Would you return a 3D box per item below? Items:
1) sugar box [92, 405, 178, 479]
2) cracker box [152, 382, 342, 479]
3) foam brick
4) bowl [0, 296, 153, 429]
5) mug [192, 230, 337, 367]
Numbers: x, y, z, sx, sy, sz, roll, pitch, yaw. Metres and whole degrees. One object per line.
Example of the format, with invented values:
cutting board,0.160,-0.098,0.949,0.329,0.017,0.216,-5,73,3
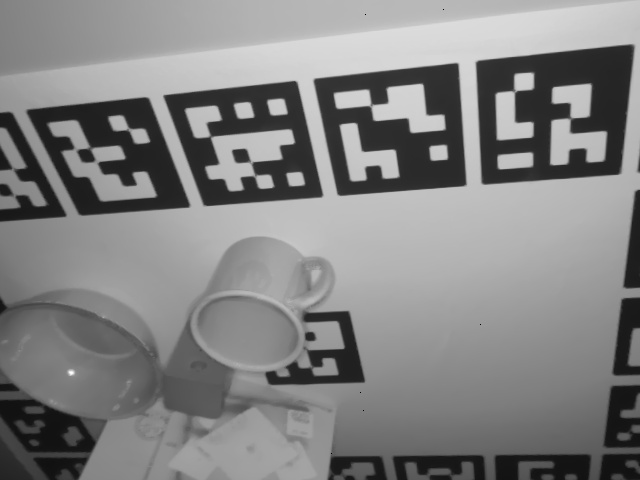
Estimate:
sugar box,-0.179,0.249,0.689,0.093,0.178,0.045,12,127,-2
cracker box,-0.076,0.240,0.648,0.165,0.216,0.071,19,129,-6
foam brick,-0.103,0.118,0.651,0.053,0.079,0.051,7,128,2
bowl,-0.229,0.106,0.652,0.161,0.056,0.160,3,126,5
mug,-0.042,0.043,0.575,0.116,0.082,0.093,-14,132,15
